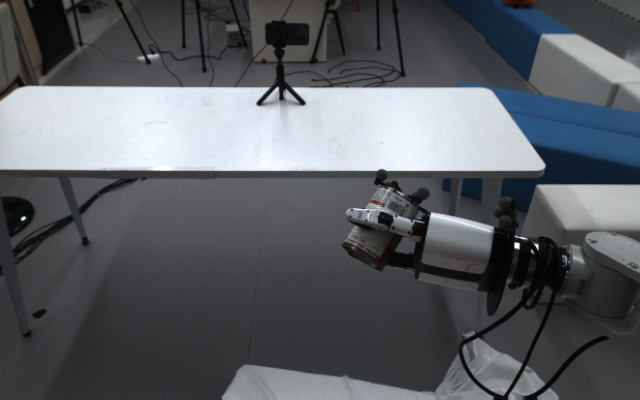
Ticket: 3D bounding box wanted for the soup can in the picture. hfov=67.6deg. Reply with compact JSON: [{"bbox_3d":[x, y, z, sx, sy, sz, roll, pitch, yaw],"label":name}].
[{"bbox_3d":[0.086,0.038,0.682,0.067,0.067,0.101,28,78,32],"label":"soup can"}]
